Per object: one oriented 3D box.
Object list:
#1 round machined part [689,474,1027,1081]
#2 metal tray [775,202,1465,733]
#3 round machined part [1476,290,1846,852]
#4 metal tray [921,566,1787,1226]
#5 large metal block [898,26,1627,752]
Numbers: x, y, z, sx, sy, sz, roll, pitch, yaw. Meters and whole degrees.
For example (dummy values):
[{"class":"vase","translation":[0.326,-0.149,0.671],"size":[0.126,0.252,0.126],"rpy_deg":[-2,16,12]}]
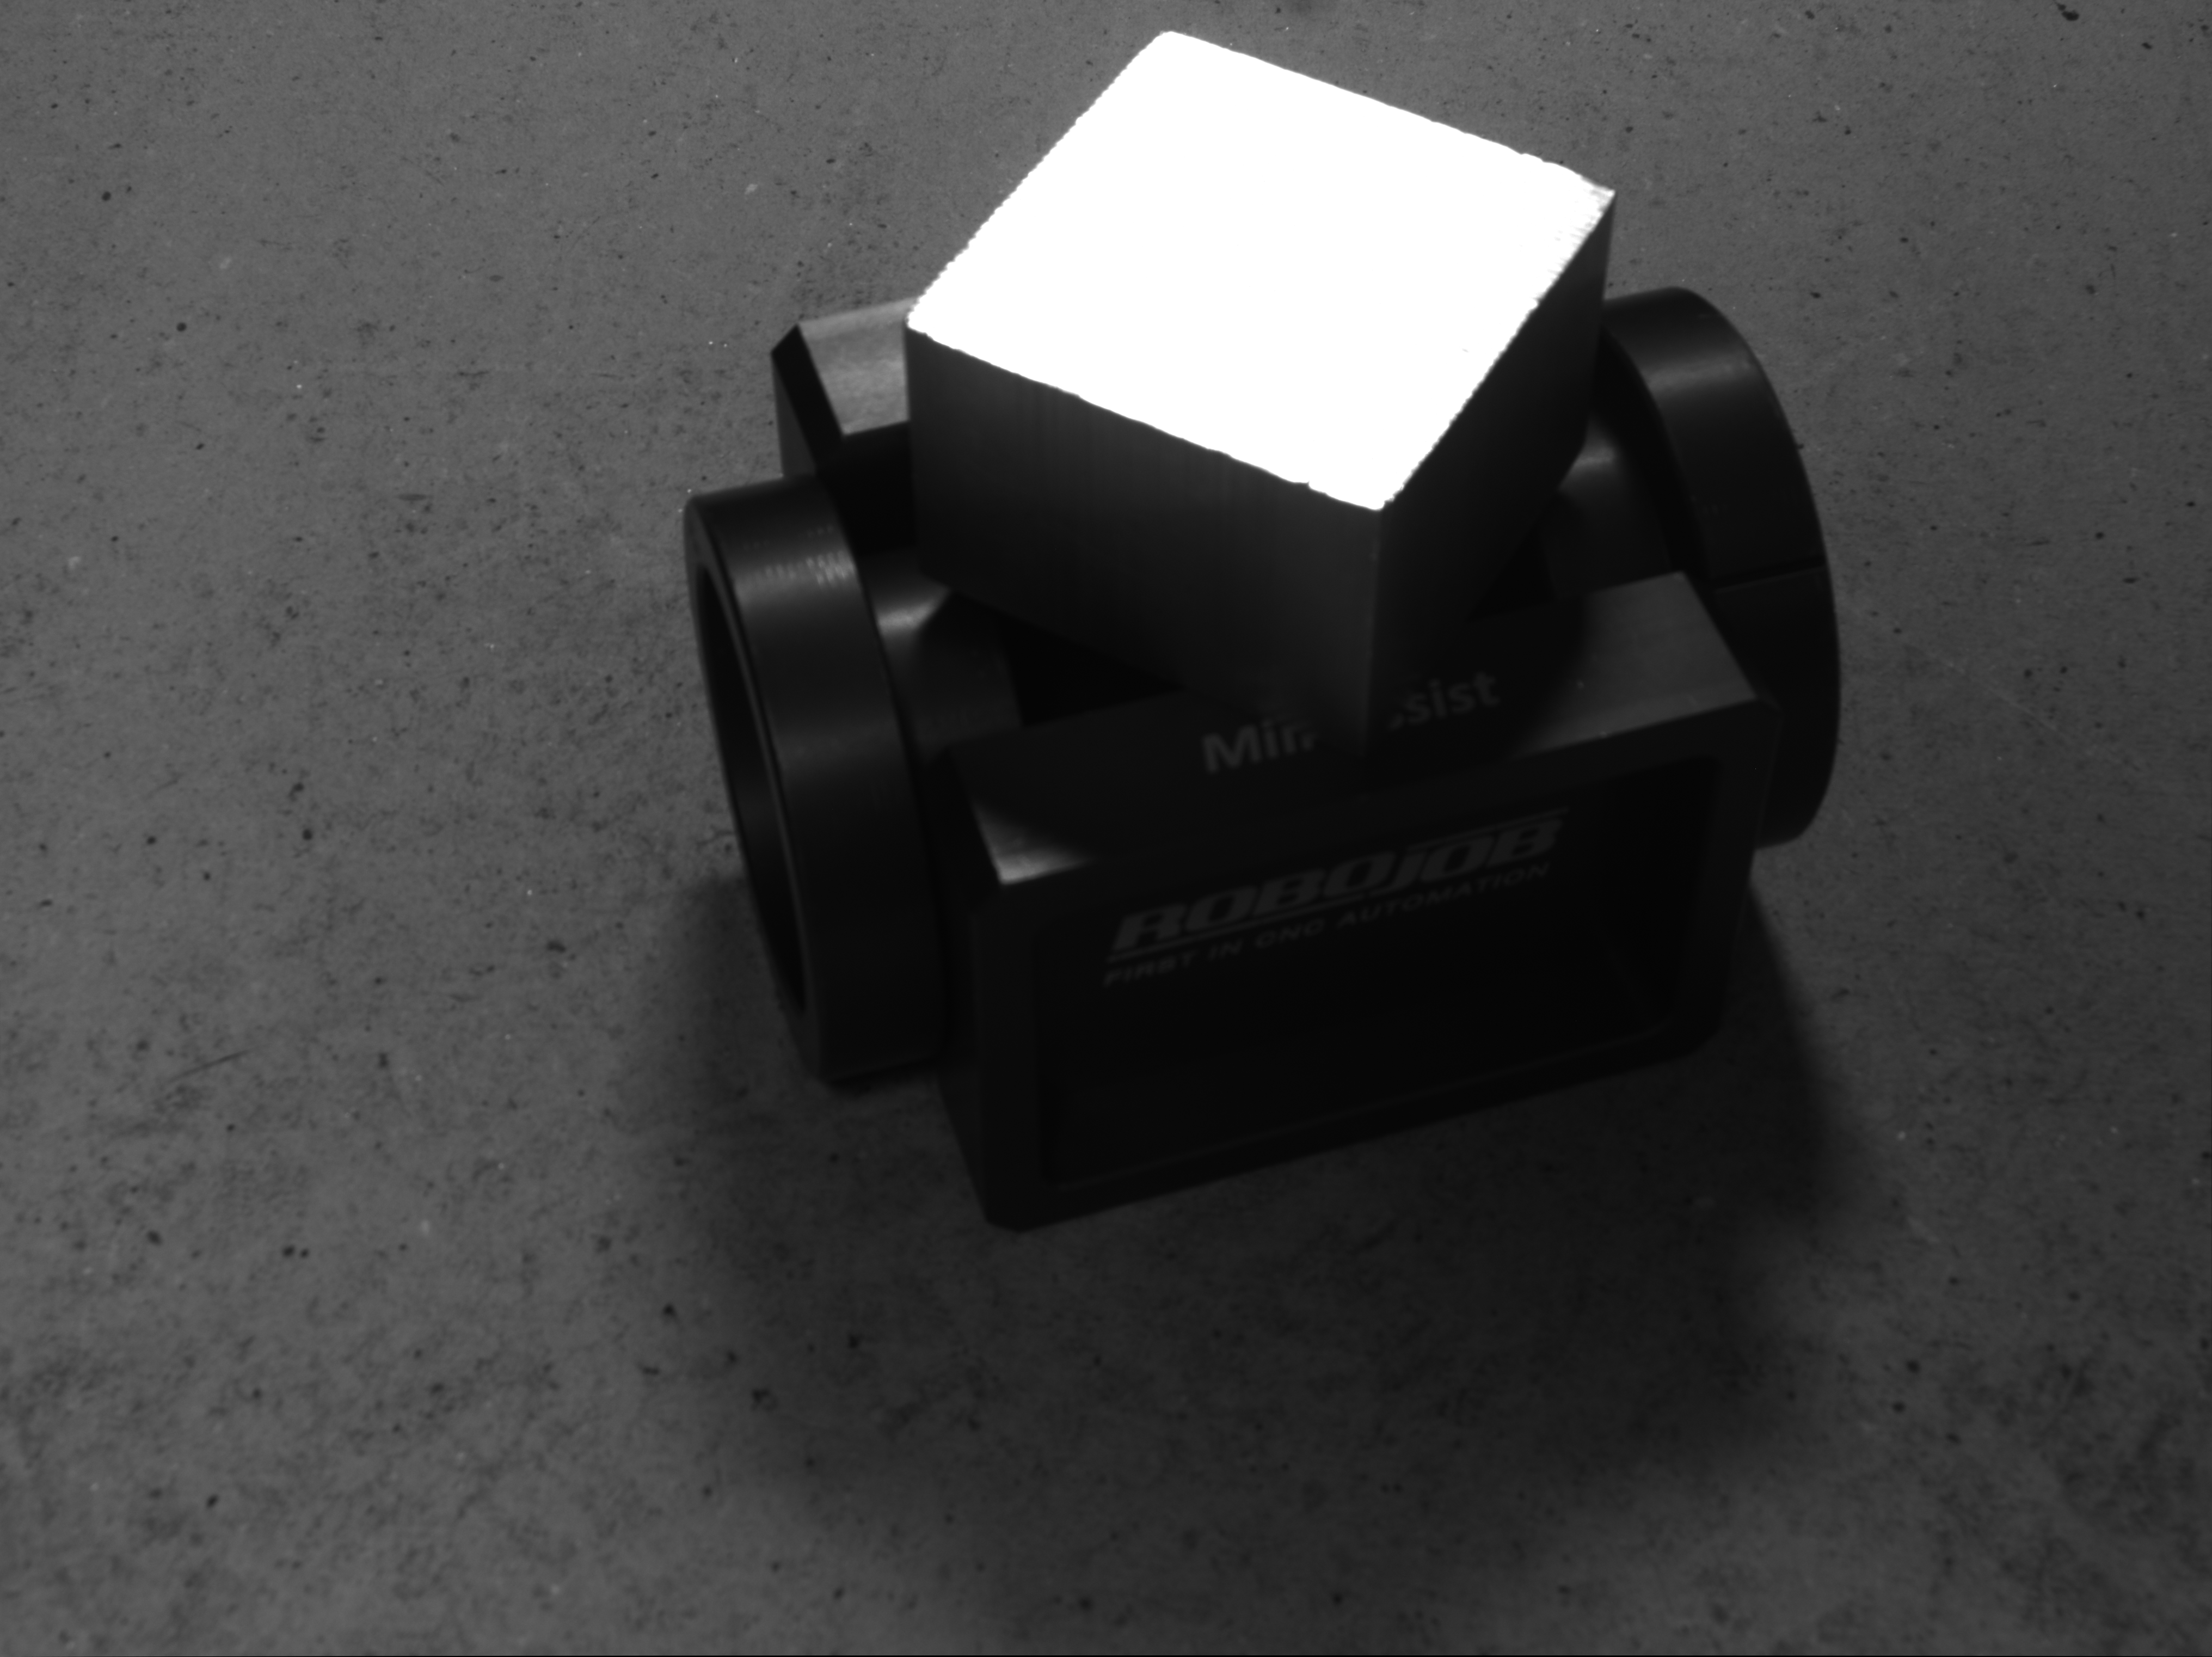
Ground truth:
[{"class":"round machined part","translation":[-0.038,-0.011,0.603],"size":[0.042,0.098,0.098],"rpy_deg":[-12,51,-10]},{"class":"metal tray","translation":[0.011,-0.059,0.651],"size":[0.130,0.090,0.030],"rpy_deg":[-14,51,-12]},{"class":"round machined part","translation":[0.088,-0.041,0.628],"size":[0.042,0.098,0.098],"rpy_deg":[-12,51,-10]},{"class":"metal tray","translation":[0.038,0.012,0.588],"size":[0.130,0.090,0.030],"rpy_deg":[-14,51,-11]},{"class":"large metal block","translation":[0.024,-0.069,0.563],"size":[0.080,0.050,0.080],"rpy_deg":[24,54,19]}]
